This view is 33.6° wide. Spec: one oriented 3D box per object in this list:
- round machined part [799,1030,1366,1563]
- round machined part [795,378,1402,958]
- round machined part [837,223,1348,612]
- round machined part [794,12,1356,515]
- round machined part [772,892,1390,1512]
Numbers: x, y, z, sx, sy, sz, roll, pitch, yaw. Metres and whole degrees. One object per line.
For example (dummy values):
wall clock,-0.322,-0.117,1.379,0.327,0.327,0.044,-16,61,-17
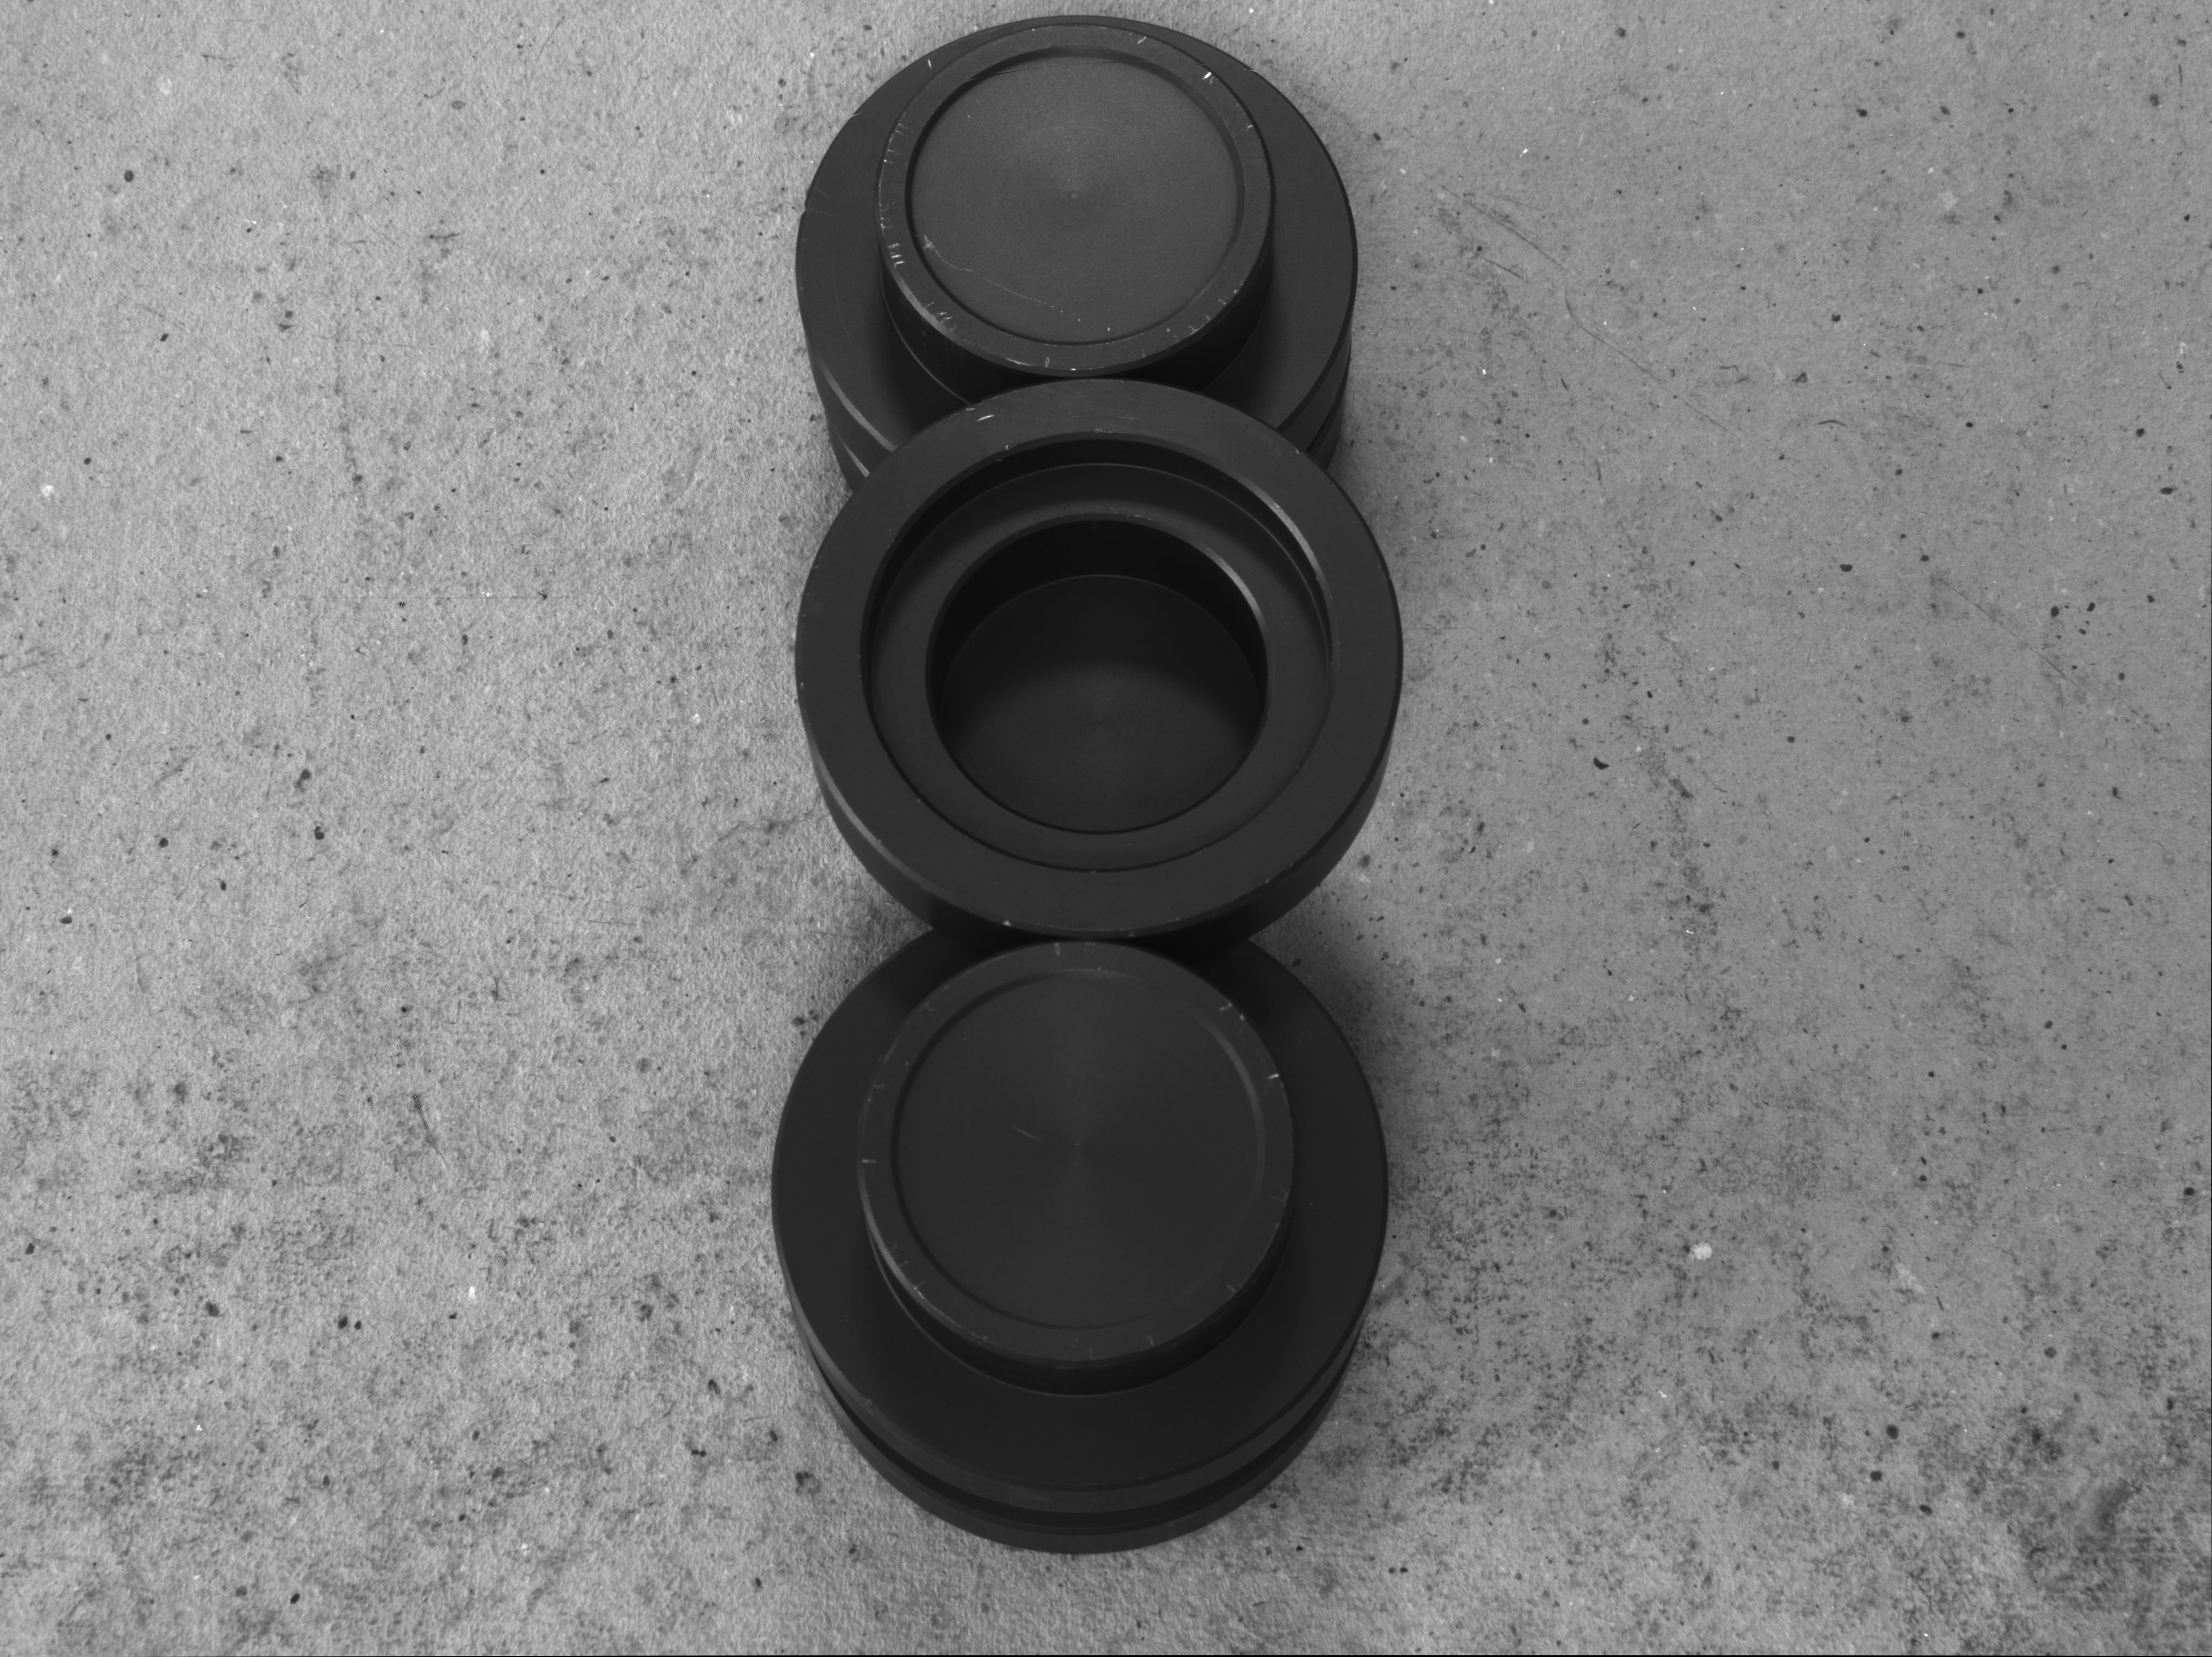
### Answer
round machined part,-0.004,0.070,0.611,0.098,0.042,0.098,0,69,1
round machined part,-0.001,-0.022,0.610,0.098,0.042,0.098,0,70,0
round machined part,-0.004,-0.091,0.669,0.098,0.042,0.098,-1,70,2
round machined part,-0.005,-0.100,0.638,0.098,0.042,0.098,0,70,1
round machined part,-0.004,0.056,0.580,0.098,0.042,0.098,0,70,1
